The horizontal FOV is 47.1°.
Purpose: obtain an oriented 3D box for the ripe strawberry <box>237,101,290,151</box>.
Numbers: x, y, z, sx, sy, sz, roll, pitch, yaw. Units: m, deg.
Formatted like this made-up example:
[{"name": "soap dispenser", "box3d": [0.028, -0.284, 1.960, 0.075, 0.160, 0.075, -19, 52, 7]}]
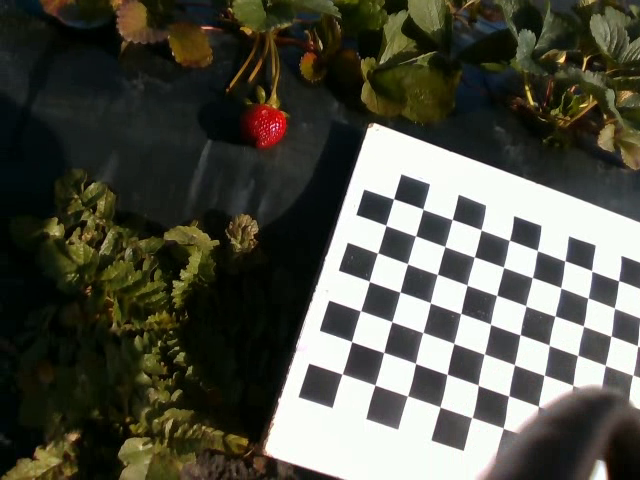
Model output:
[{"name": "ripe strawberry", "box3d": [-0.042, -0.085, 0.532, 0.040, 0.044, 0.037, 3, -36, -13]}]
